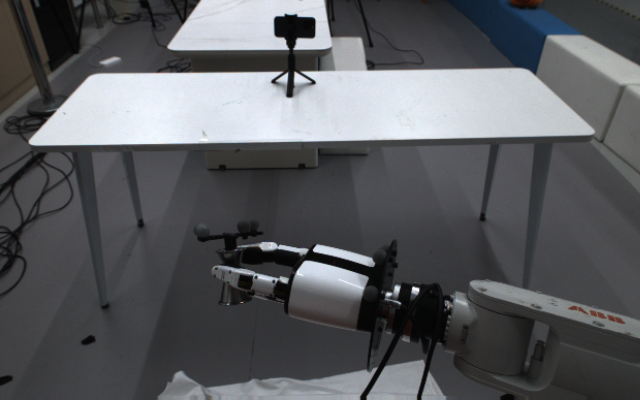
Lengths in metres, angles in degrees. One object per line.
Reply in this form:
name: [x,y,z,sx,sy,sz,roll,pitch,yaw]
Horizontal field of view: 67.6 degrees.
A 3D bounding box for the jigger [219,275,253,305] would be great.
jigger: [-0.111,0.096,0.620,0.043,0.071,0.043,-4,1,0]
